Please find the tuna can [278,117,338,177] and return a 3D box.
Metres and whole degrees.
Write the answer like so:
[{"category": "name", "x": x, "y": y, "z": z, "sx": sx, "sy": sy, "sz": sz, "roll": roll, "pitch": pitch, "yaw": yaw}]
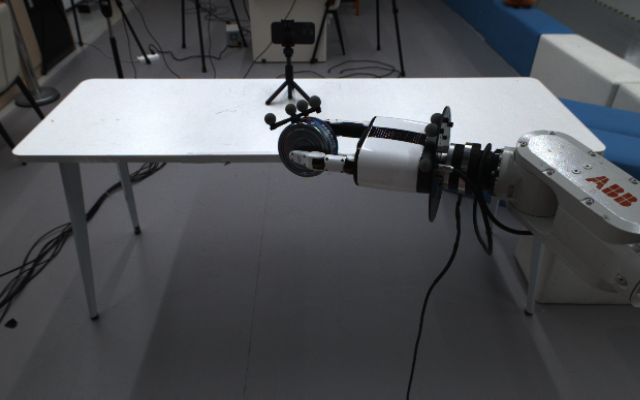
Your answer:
[{"category": "tuna can", "x": -0.015, "y": -0.073, "z": 0.715, "sx": 0.085, "sy": 0.085, "sz": 0.034, "roll": 14, "pitch": 30, "yaw": 17}]
